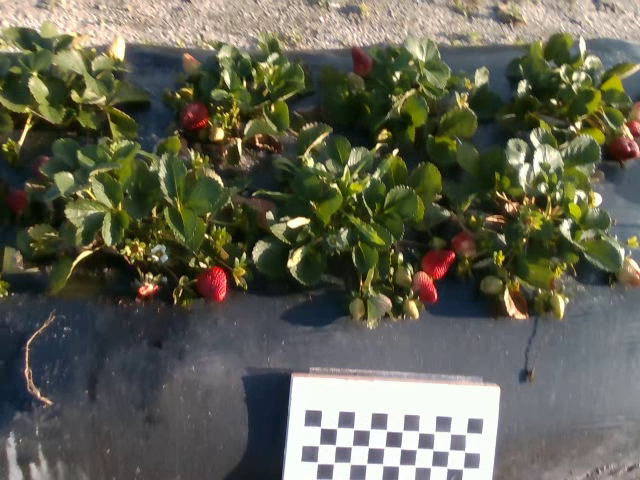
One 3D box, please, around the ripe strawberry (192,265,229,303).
[{"bbox_3d":[-0.142,0.062,0.910,0.052,0.041,0.052,-27,42,-10],"label":"ripe strawberry"}]
